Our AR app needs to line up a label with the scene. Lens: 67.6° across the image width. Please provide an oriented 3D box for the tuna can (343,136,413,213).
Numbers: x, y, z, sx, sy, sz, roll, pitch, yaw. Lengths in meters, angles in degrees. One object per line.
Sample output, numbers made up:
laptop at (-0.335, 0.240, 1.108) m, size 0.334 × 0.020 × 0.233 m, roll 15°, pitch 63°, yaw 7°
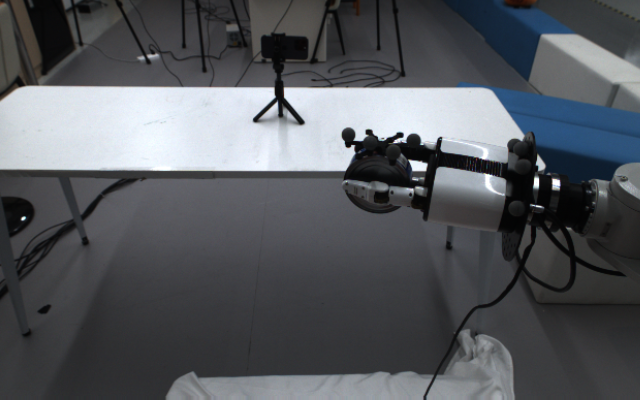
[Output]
tuna can at (0.077, -0.030, 0.621) m, size 0.085 × 0.085 × 0.034 m, roll 10°, pitch 34°, yaw 11°
